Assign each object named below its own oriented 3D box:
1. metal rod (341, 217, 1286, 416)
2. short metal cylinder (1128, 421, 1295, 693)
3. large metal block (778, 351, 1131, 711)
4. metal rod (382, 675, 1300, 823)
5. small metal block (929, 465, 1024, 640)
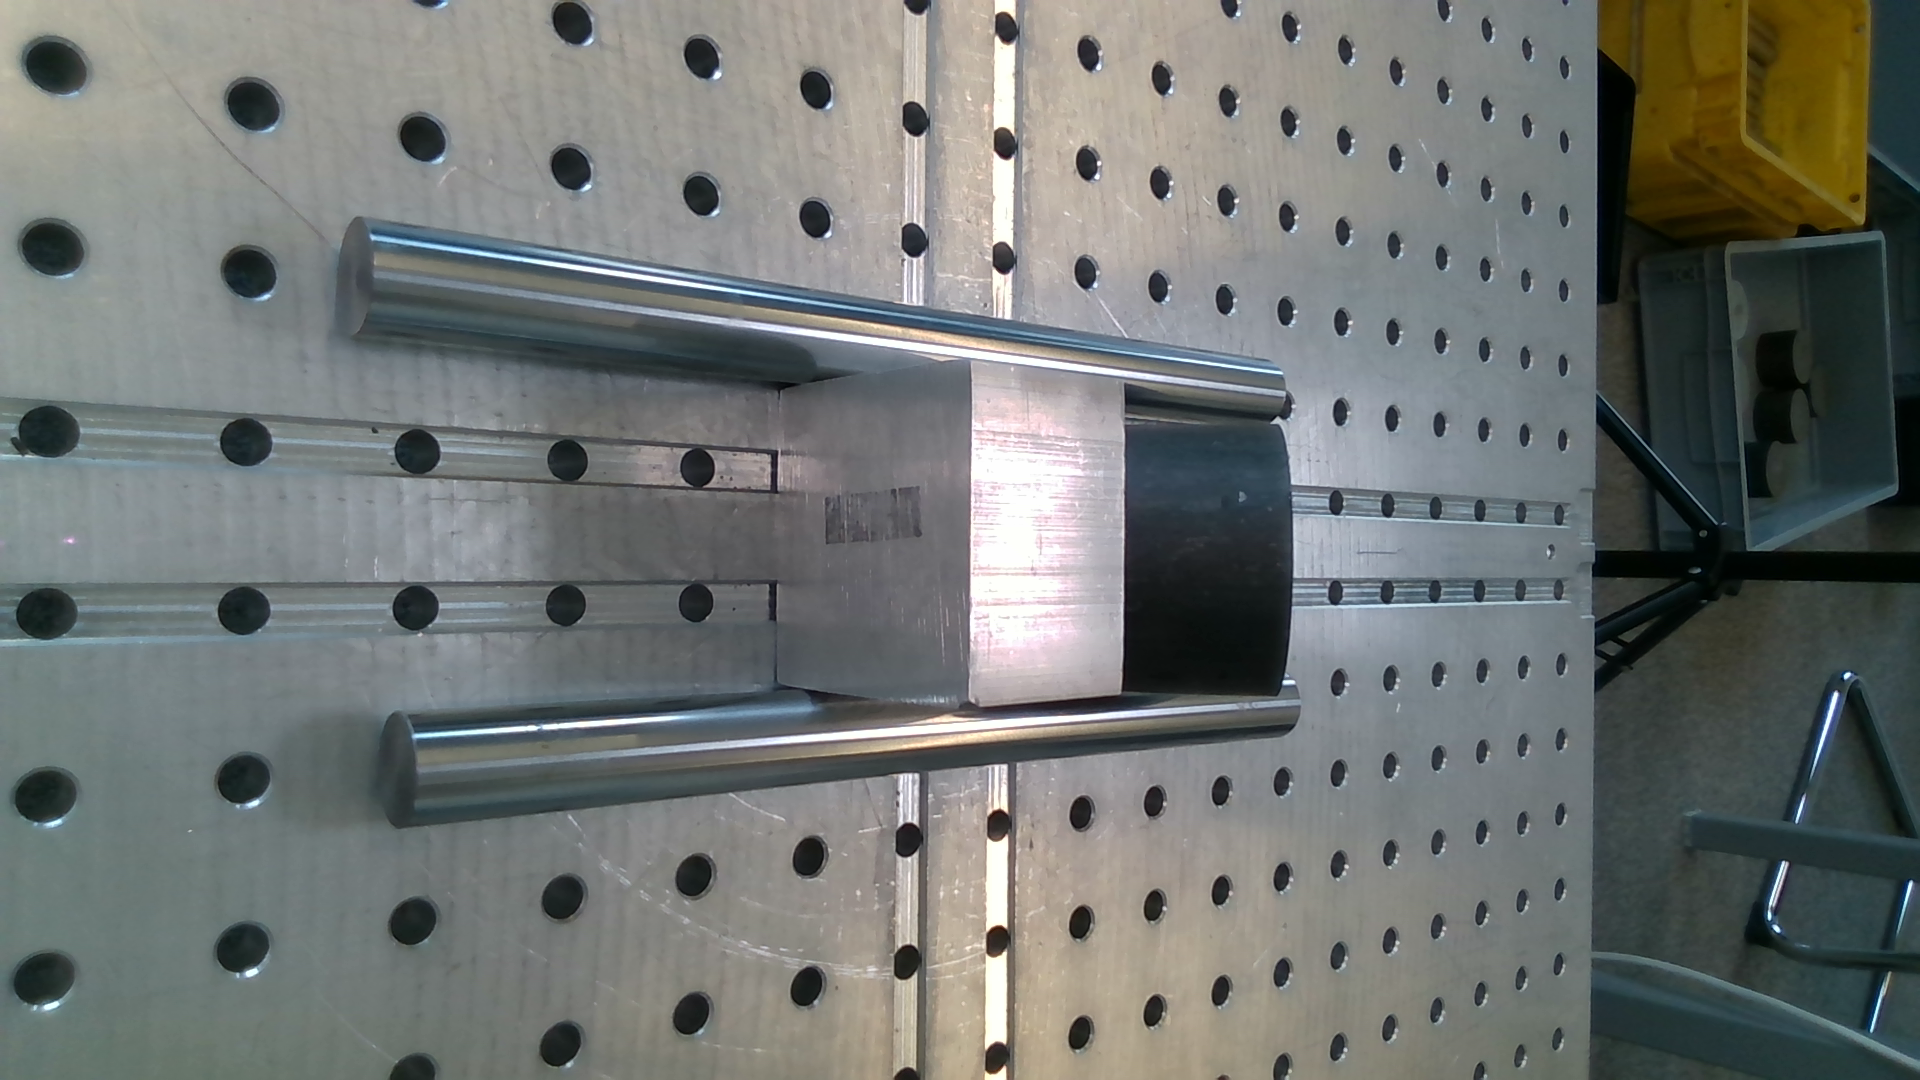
[{"bbox_3d":[-0.011,-0.053,0.385,0.300,0.025,0.025,1,89,-40],"label":"metal rod"},{"bbox_3d":[0.068,0.005,0.407,0.080,0.050,0.080,3,88,-84],"label":"short metal cylinder"},{"bbox_3d":[-0.003,-0.002,0.353,0.050,0.080,0.080,1,90,-40],"label":"large metal block"},{"bbox_3d":[-0.005,0.053,0.390,0.300,0.025,0.025,2,88,-40],"label":"metal rod"},{"bbox_3d":[0.015,0.004,0.390,0.025,0.050,0.050,2,89,-40],"label":"small metal block"}]
